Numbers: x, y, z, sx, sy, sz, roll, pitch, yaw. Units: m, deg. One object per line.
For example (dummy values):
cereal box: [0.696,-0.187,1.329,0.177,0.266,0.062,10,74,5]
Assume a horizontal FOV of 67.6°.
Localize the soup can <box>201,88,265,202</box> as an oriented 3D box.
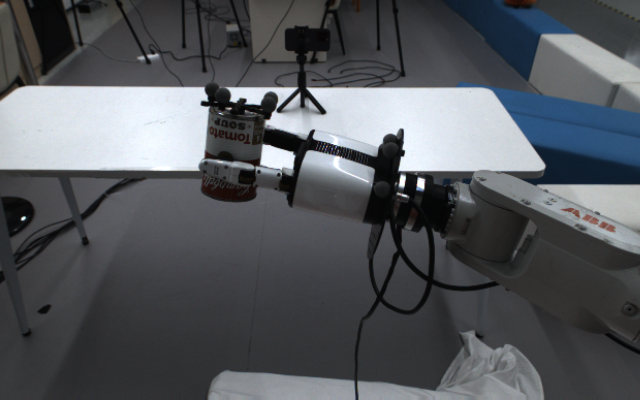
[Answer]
soup can: [-0.101,-0.056,0.574,0.067,0.101,0.067,9,20,-3]
